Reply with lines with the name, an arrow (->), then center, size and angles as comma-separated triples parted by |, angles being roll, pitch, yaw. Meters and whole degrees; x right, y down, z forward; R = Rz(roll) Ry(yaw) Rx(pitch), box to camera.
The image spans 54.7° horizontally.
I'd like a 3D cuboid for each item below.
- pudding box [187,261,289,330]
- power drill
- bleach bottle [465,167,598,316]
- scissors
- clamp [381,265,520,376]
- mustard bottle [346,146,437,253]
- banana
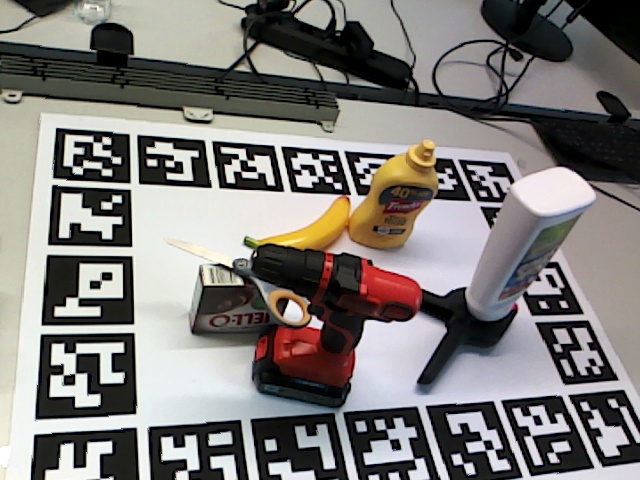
pudding box -> -0.099, 0.069, 0.756 | 0.113, 0.090, 0.039 | 5, 43, -18
power drill -> -0.005, 0.089, 0.671 | 0.184, 0.187, 0.057 | 10, 42, -10
bleach bottle -> 0.256, 0.022, 0.808 | 0.102, 0.250, 0.068 | -19, 56, -25
scissors -> -0.090, 0.023, 0.711 | 0.202, 0.016, 0.088 | 24, 50, -7
clamp -> 0.195, 0.099, 0.863 | 0.202, 0.036, 0.166 | -3, 55, -26
mustard bottle -> 0.112, -0.061, 0.888 | 0.096, 0.191, 0.058 | 13, 47, -12
banana -> -0.010, -0.034, 0.907 | 0.075, 0.039, 0.196 | 27, 45, 26
